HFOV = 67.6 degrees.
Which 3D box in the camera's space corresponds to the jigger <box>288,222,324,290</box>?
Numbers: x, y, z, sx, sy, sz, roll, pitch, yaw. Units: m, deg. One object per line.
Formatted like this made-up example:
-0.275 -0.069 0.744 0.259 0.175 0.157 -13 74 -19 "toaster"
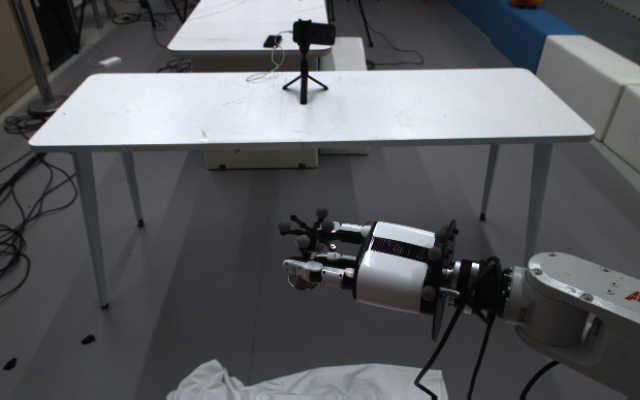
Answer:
-0.019 0.087 0.682 0.043 0.071 0.043 9 30 -5 "jigger"
